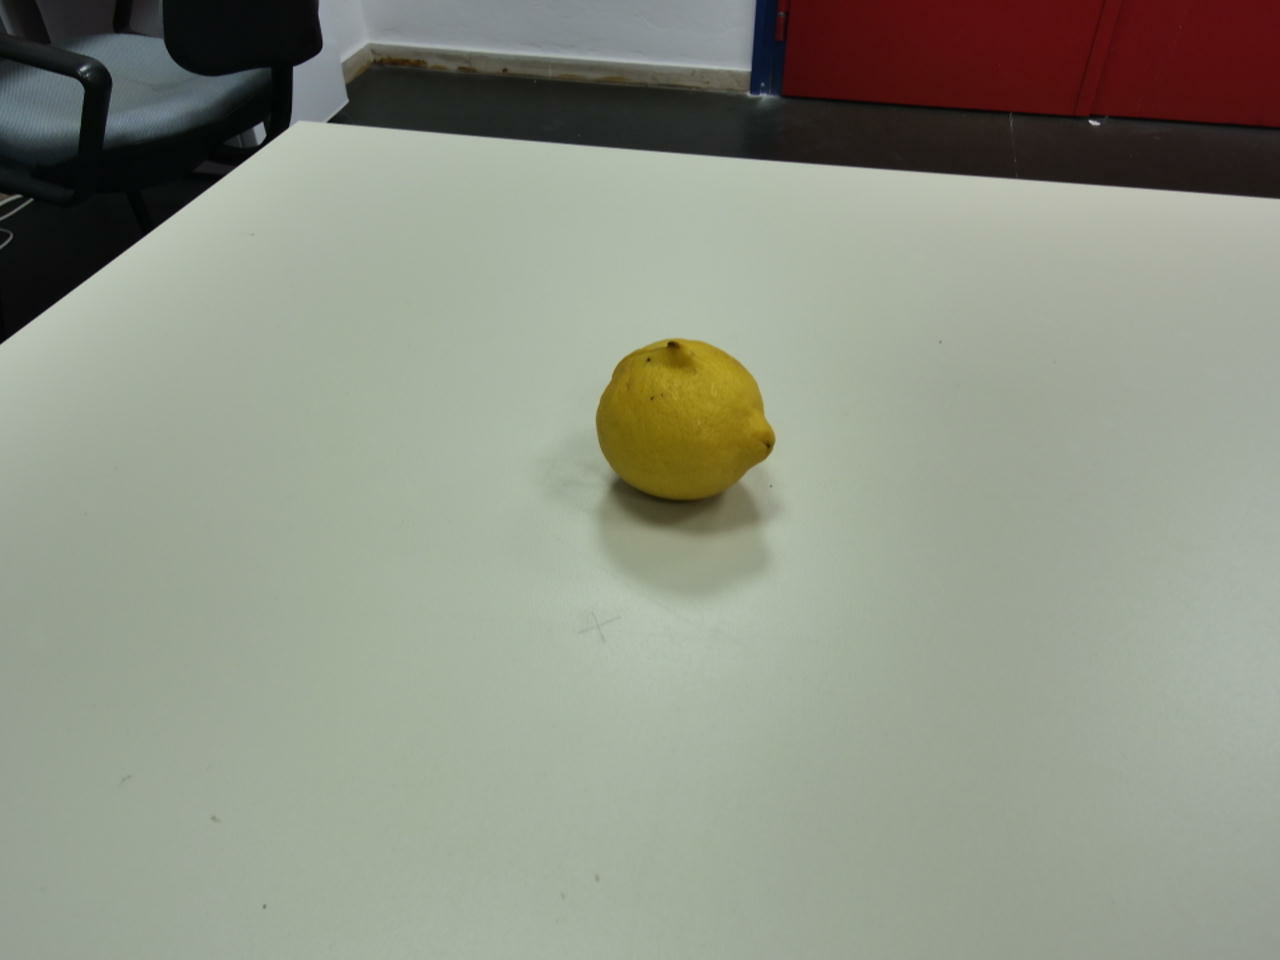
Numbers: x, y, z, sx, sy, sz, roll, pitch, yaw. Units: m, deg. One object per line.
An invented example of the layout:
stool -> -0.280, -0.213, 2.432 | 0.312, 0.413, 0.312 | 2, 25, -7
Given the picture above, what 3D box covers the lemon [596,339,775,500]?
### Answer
lemon -> 0.017, -0.028, 0.424 | 0.070, 0.071, 0.071 | -12, 40, -16
